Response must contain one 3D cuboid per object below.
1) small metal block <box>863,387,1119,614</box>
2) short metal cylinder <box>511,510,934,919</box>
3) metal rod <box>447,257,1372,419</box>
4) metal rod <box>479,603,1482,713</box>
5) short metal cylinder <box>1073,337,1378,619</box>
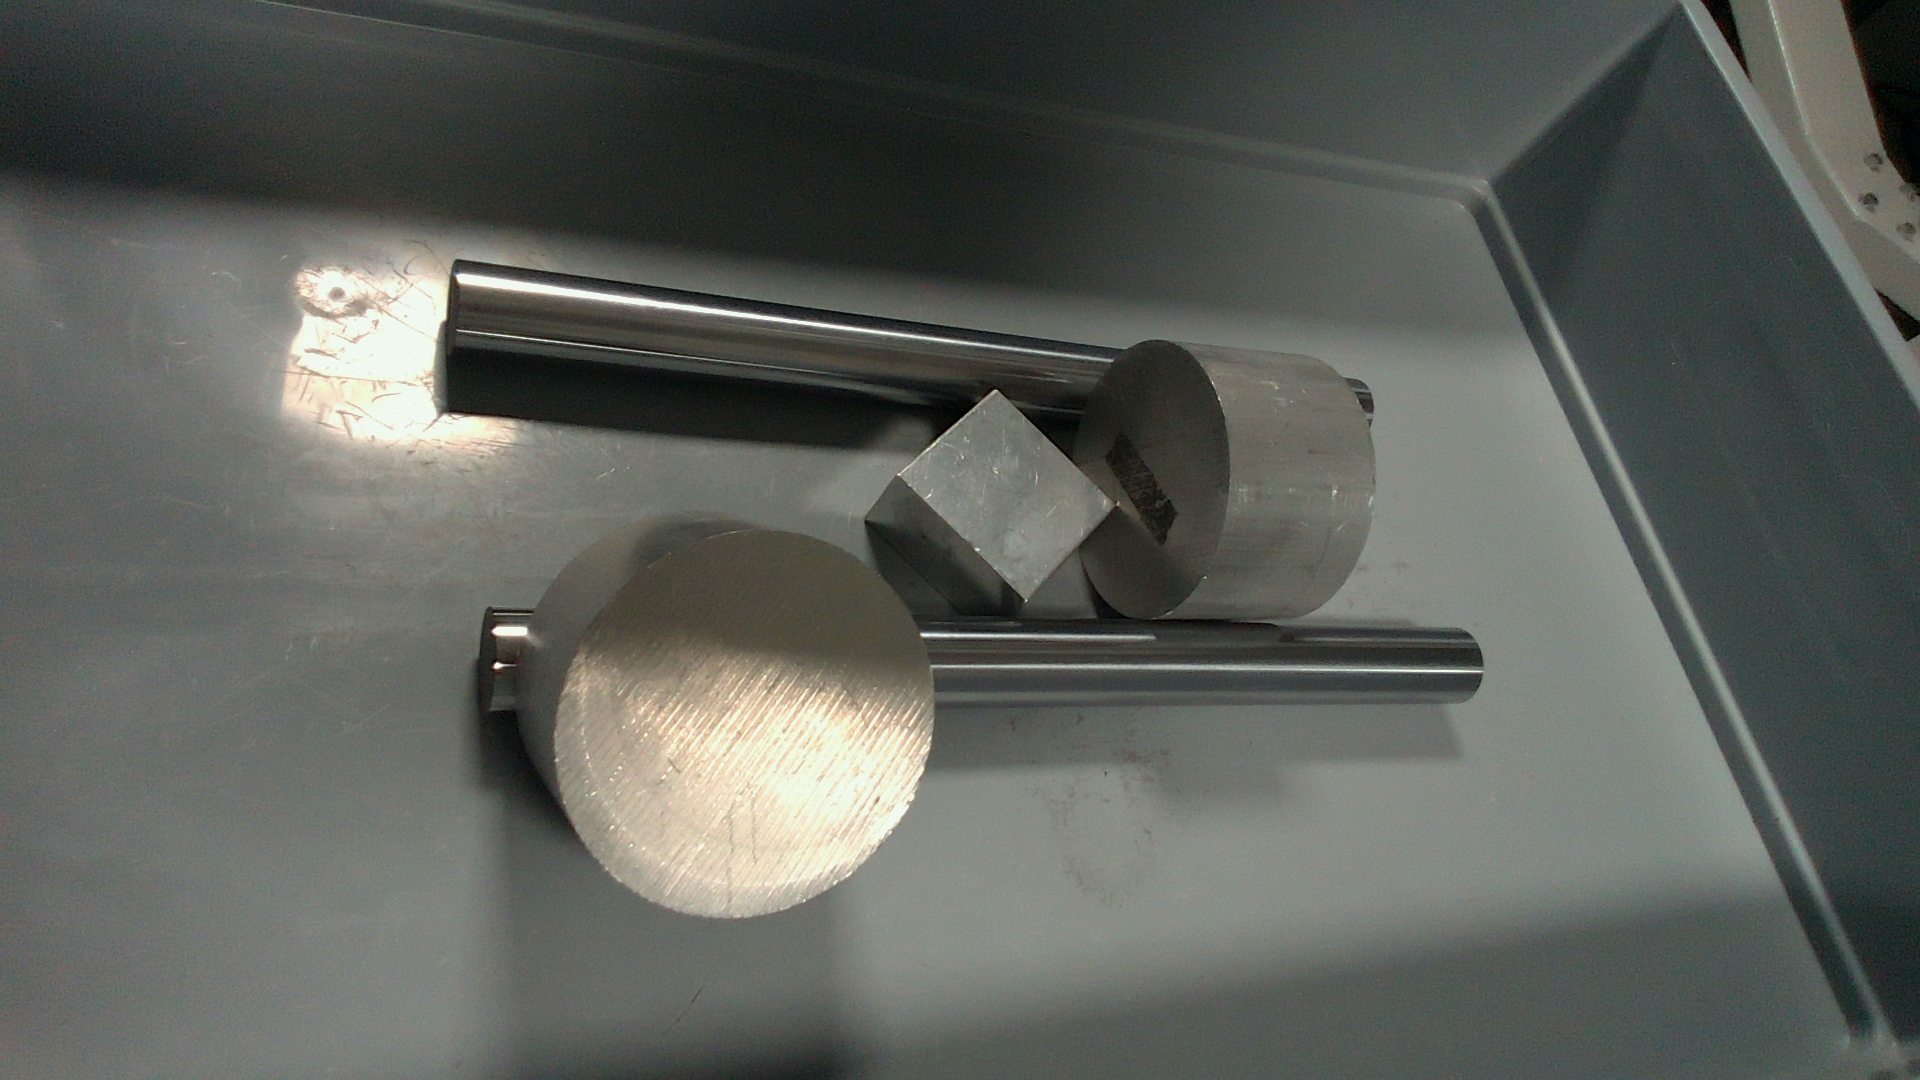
[{"bbox_3d":[0.009,-0.008,0.398,0.050,0.025,0.050,44,51,2],"label":"small metal block"},{"bbox_3d":[-0.052,0.035,0.300,0.080,0.050,0.080,-3,97,-26],"label":"short metal cylinder"},{"bbox_3d":[0.004,-0.053,0.422,0.301,0.025,0.025,3,60,-27],"label":"metal rod"},{"bbox_3d":[0.026,0.034,0.381,0.301,0.025,0.025,3,60,-27],"label":"metal rod"},{"bbox_3d":[0.075,-0.017,0.404,0.050,0.080,0.080,2,61,-27],"label":"short metal cylinder"}]
